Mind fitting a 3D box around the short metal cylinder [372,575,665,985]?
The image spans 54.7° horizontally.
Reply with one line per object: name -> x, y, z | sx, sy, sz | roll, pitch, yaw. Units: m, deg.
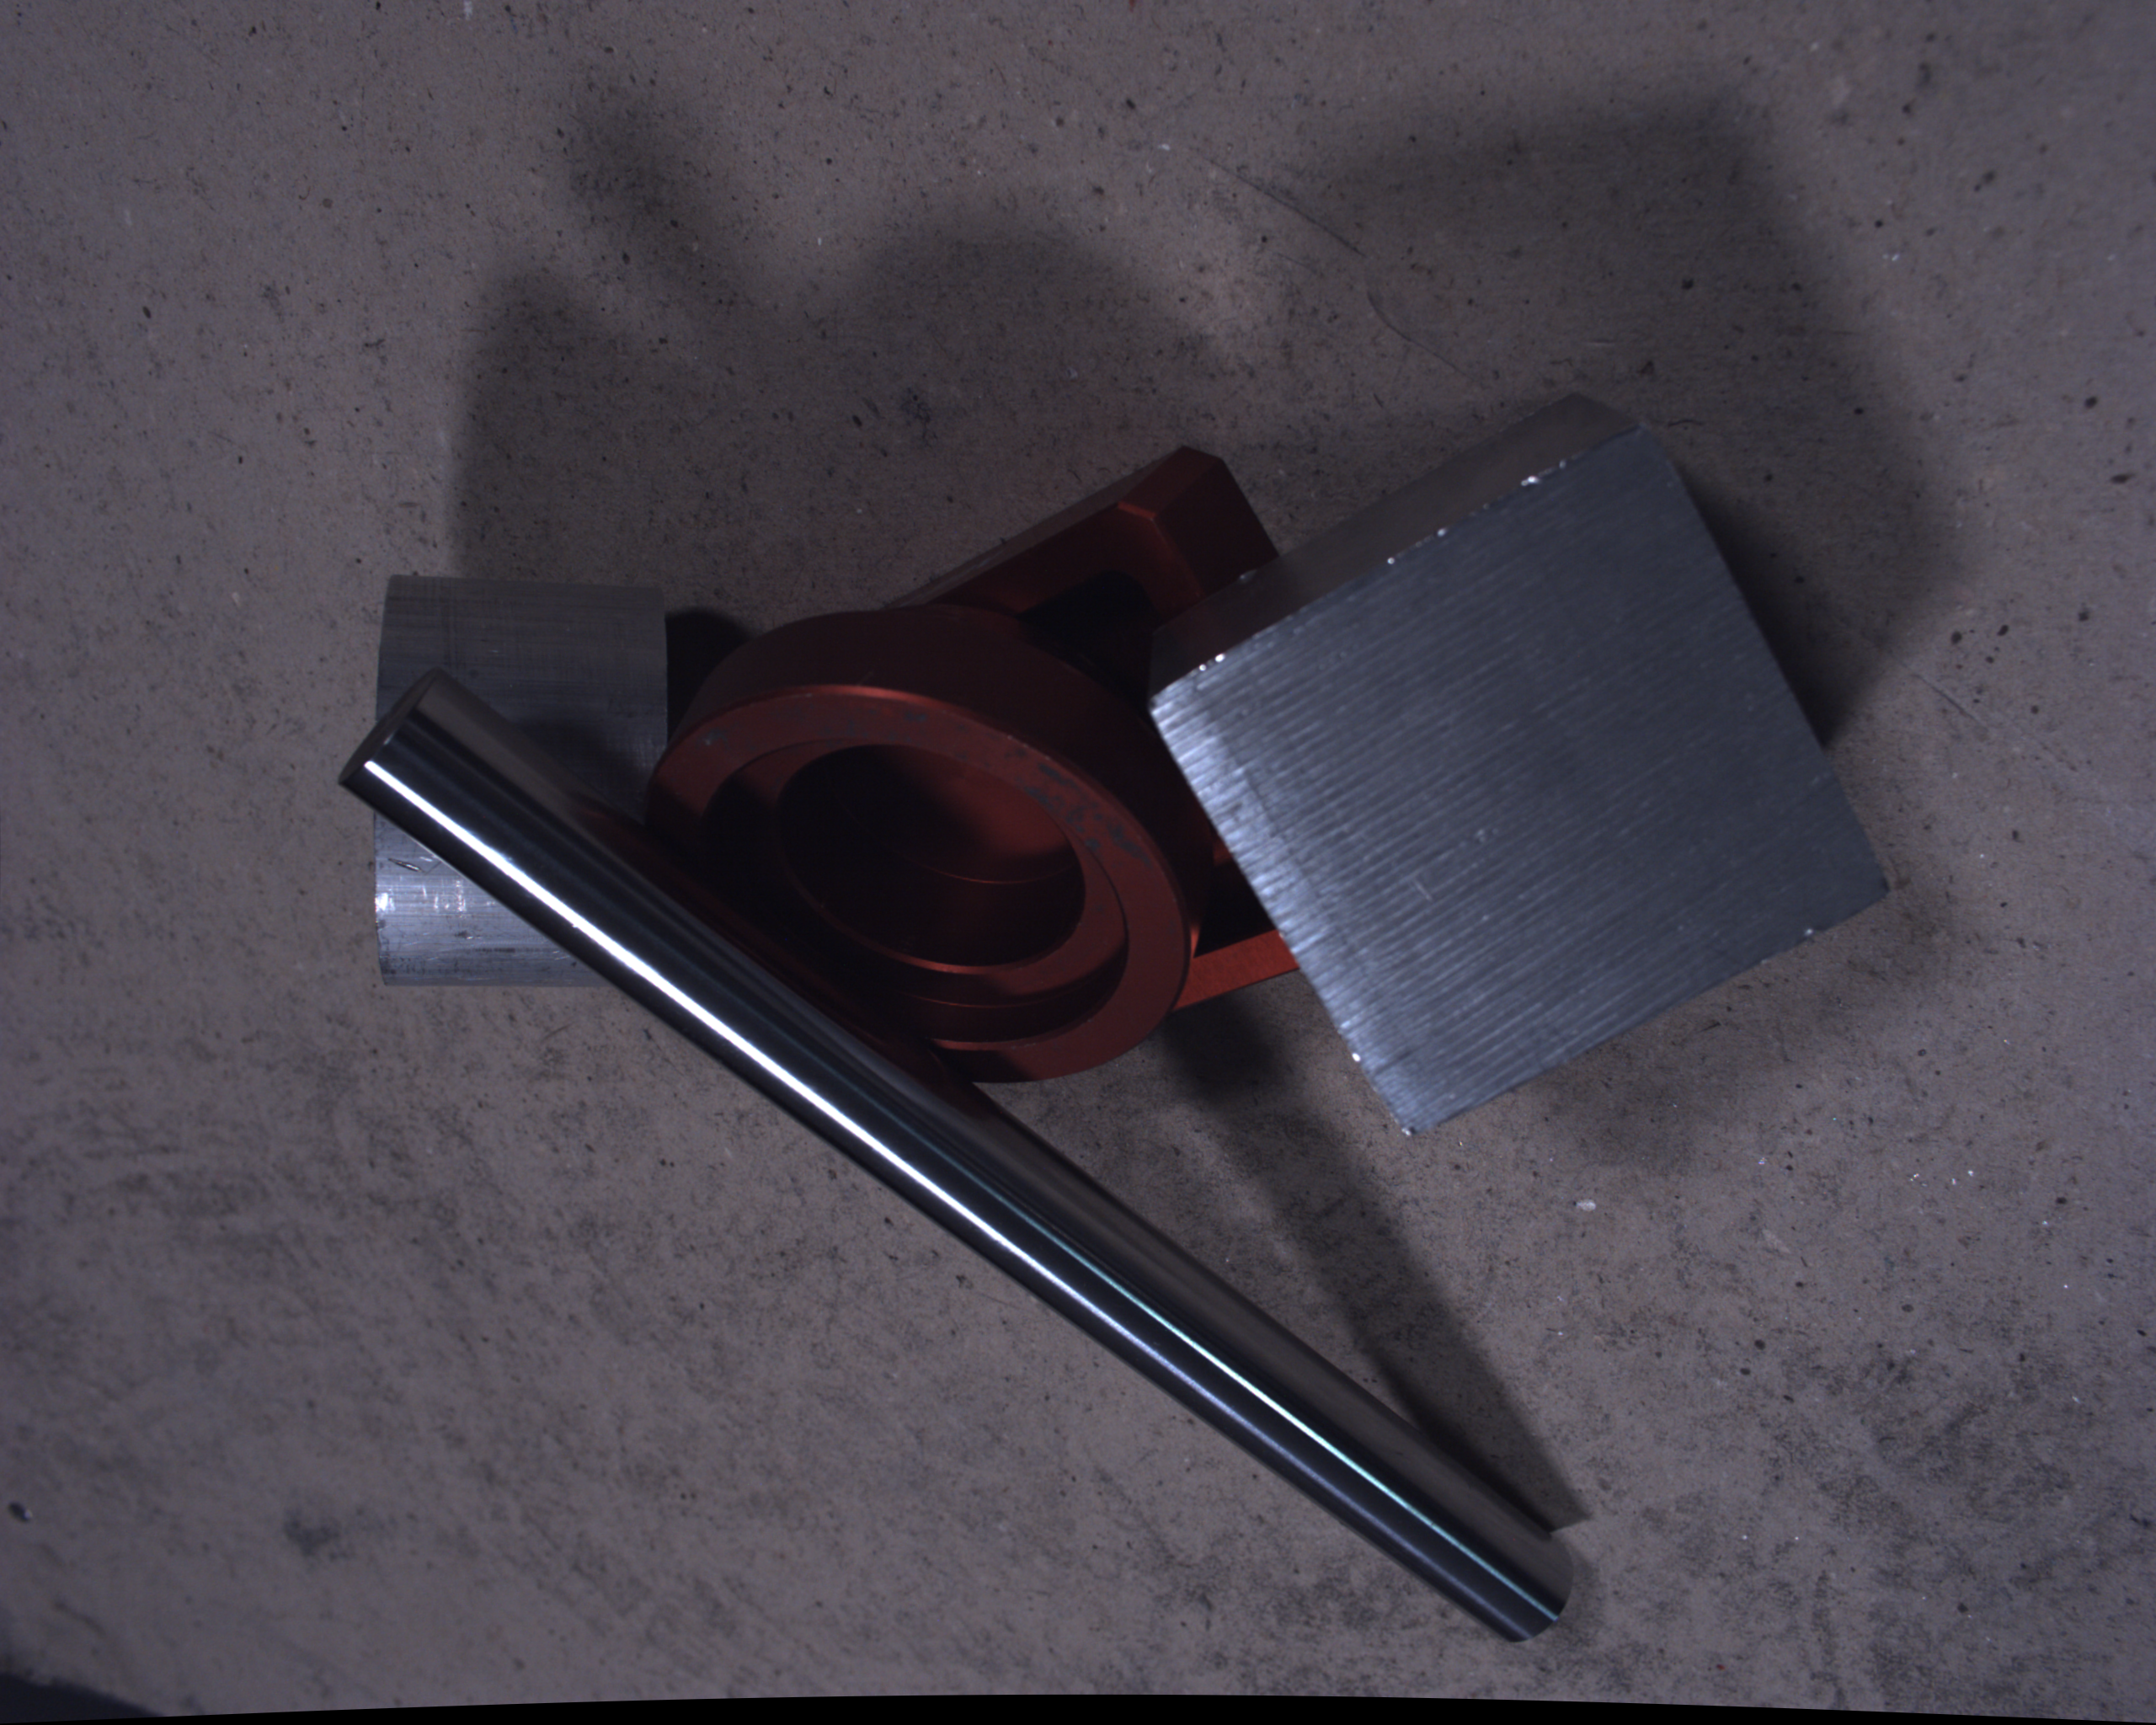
short metal cylinder -> -0.109, -0.015, 0.410 | 0.050, 0.080, 0.079 | 1, 126, -14

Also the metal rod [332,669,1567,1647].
metal rod -> -0.008, 0.069, 0.397 | 0.300, 0.025, 0.025 | 41, 131, -23

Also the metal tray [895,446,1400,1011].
metal tray -> -0.009, -0.012, 0.401 | 0.130, 0.030, 0.090 | -22, 107, 36

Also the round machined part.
round machined part -> -0.024, -0.007, 0.373 | 0.098, 0.042, 0.097 | 11, 137, 11

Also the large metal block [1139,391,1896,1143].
large metal block -> 0.065, -0.017, 0.325 | 0.080, 0.050, 0.080 | -29, 104, 10
